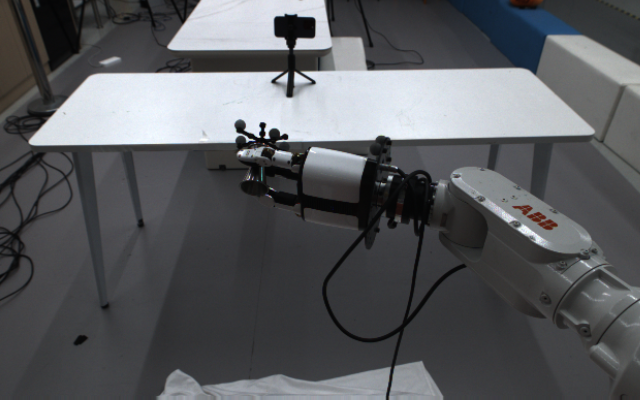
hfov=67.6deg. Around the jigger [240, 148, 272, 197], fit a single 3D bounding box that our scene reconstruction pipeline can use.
[{"bbox_3d":[-0.094,-0.048,0.718,0.043,0.043,0.071,4,60,2],"label":"jigger"}]
